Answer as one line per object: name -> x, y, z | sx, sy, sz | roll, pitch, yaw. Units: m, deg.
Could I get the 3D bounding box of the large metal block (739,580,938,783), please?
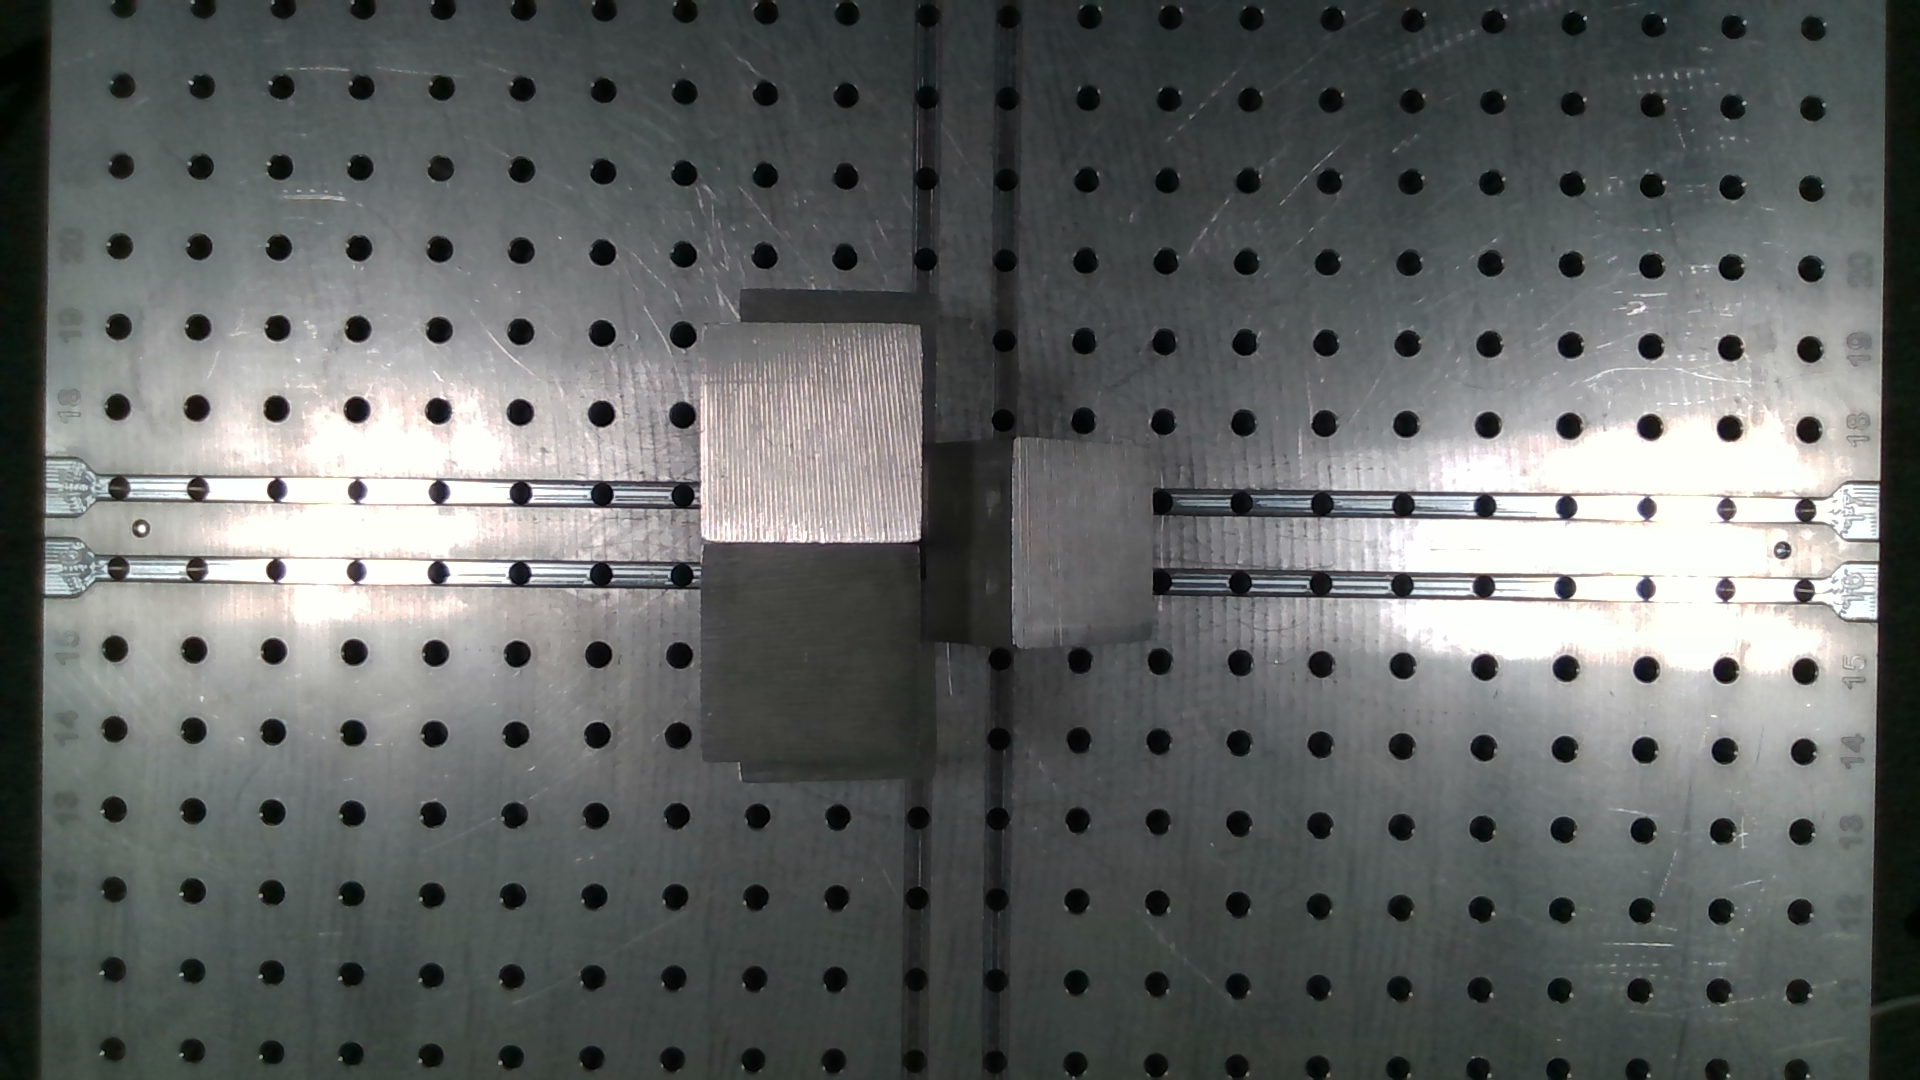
large metal block -> -0.050, 0.057, 0.577 | 0.080, 0.050, 0.080 | -1, 90, 0

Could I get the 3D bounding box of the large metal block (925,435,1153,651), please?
large metal block -> 0.033, 0.001, 0.556 | 0.080, 0.050, 0.080 | 0, 91, -42

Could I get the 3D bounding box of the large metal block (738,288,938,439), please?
large metal block -> -0.050, -0.060, 0.577 | 0.080, 0.050, 0.080 | 1, 90, 0

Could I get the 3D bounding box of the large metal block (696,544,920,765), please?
large metal block -> -0.056, 0.042, 0.525 | 0.080, 0.050, 0.080 | 0, 90, 0

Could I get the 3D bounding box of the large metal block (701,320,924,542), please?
large metal block -> -0.054, -0.040, 0.524 | 0.080, 0.050, 0.080 | 0, 90, 0
